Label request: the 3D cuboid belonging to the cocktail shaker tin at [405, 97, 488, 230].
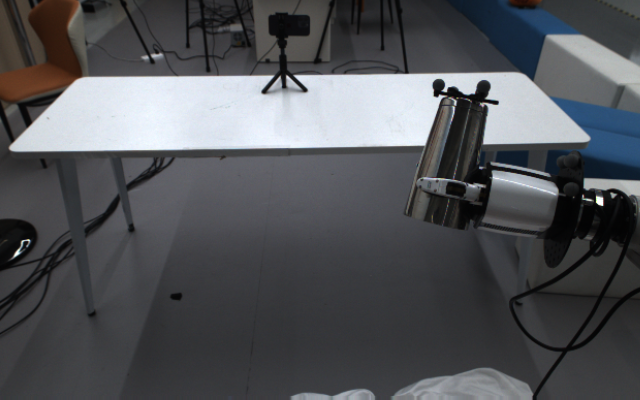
[{"bbox_3d":[0.182,-0.052,0.679,0.093,0.170,0.093,13,4,-1],"label":"cocktail shaker tin"}]
